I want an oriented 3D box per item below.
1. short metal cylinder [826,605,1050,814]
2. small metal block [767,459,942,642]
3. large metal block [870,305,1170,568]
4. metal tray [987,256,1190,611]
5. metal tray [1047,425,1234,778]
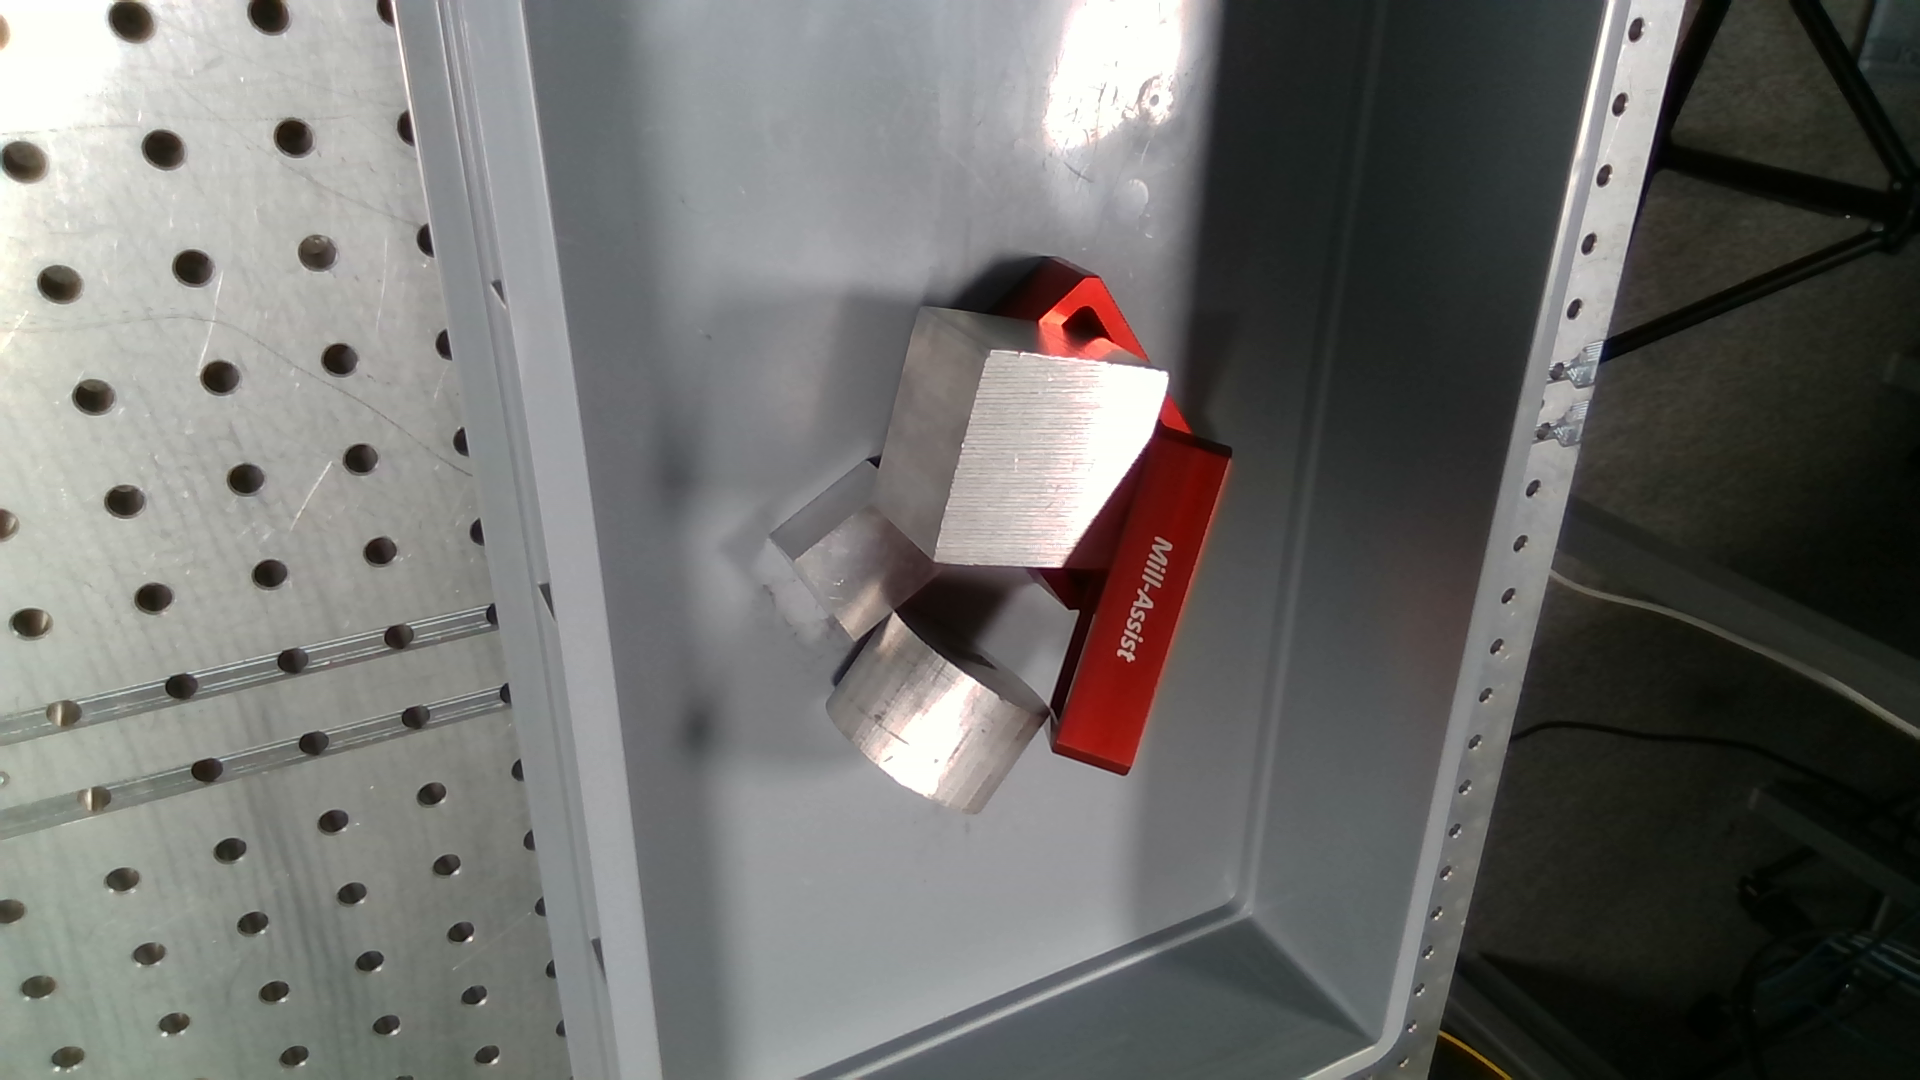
[{"bbox_3d":[-0.010,0.070,0.577,0.080,0.080,0.050,29,97,-39],"label":"short metal cylinder"},{"bbox_3d":[-0.041,0.004,0.557,0.050,0.025,0.050,-39,129,-8],"label":"small metal block"},{"bbox_3d":[0.021,-0.037,0.515,0.080,0.050,0.080,2,114,-32],"label":"large metal block"},{"bbox_3d":[0.044,-0.042,0.580,0.090,0.030,0.130,-43,129,-5],"label":"metal tray"},{"bbox_3d":[0.069,0.023,0.555,0.030,0.090,0.130,18,90,2],"label":"metal tray"}]
